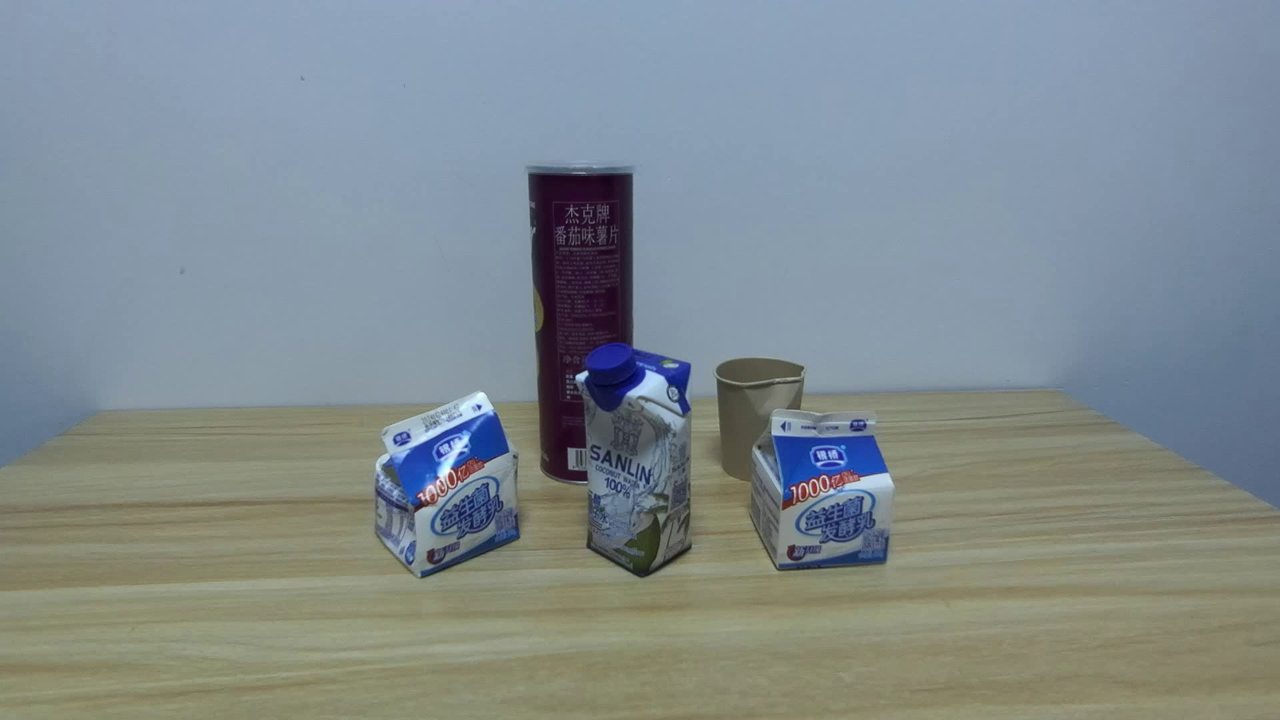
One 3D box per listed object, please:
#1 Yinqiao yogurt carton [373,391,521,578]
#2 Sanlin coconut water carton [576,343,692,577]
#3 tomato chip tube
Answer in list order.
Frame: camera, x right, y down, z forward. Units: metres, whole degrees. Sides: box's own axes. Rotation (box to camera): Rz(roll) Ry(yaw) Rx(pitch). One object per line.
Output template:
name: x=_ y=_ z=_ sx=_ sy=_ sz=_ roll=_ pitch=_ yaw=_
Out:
Yinqiao yogurt carton: x=-0.126 y=0.072 z=0.460 sx=0.083 sy=0.093 sz=0.077 roll=-15 pitch=23 yaw=-38
Sanlin coconut water carton: x=-0.003 y=0.056 z=0.434 sx=0.077 sy=0.142 sz=0.058 roll=16 pitch=29 yaw=40
tomato chip tube: x=-0.042 y=-0.027 z=0.541 sx=0.078 sy=0.234 sz=0.078 roll=1 pitch=18 yaw=0
